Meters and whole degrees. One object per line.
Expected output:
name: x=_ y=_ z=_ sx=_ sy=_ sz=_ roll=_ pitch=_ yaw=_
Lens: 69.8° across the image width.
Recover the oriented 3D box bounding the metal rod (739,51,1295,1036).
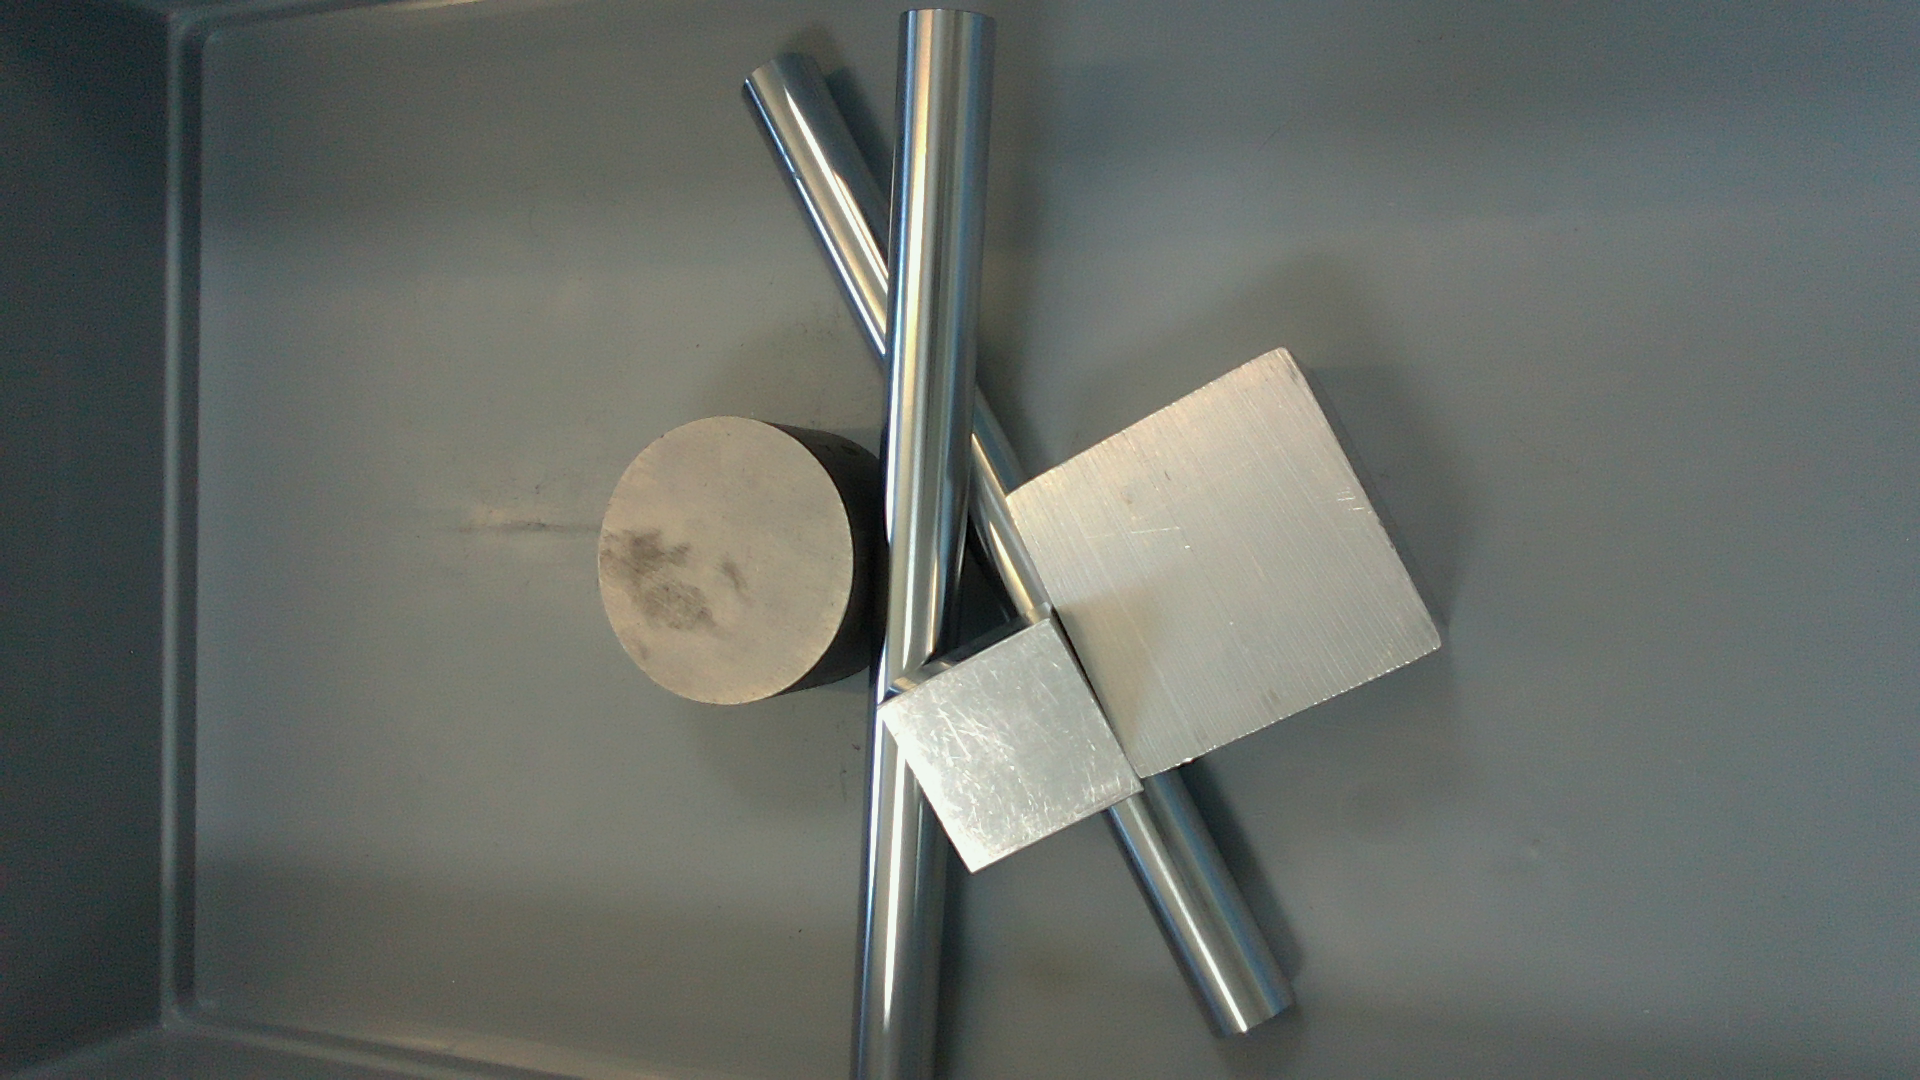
metal rod: x=0.012 y=-0.006 z=0.390 sx=0.025 sy=0.025 sz=0.300 roll=-29 pitch=81 yaw=18

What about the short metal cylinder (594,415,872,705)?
short metal cylinder: x=-0.058 y=0.005 z=0.402 sx=0.080 sy=0.050 sz=0.080 roll=0 pitch=90 yaw=19

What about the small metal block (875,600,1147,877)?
small metal block: x=0.014 y=0.050 z=0.356 sx=0.050 sy=0.025 sz=0.050 roll=-28 pitch=96 yaw=10

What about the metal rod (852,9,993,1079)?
metal rod: x=-0.012 y=0.014 z=0.378 sx=0.025 sy=0.025 sz=0.300 roll=7 pitch=100 yaw=20

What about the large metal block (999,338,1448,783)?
large metal block: x=0.069 y=0.006 z=0.356 sx=0.080 sy=0.050 sz=0.080 roll=-29 pitch=81 yaw=18
